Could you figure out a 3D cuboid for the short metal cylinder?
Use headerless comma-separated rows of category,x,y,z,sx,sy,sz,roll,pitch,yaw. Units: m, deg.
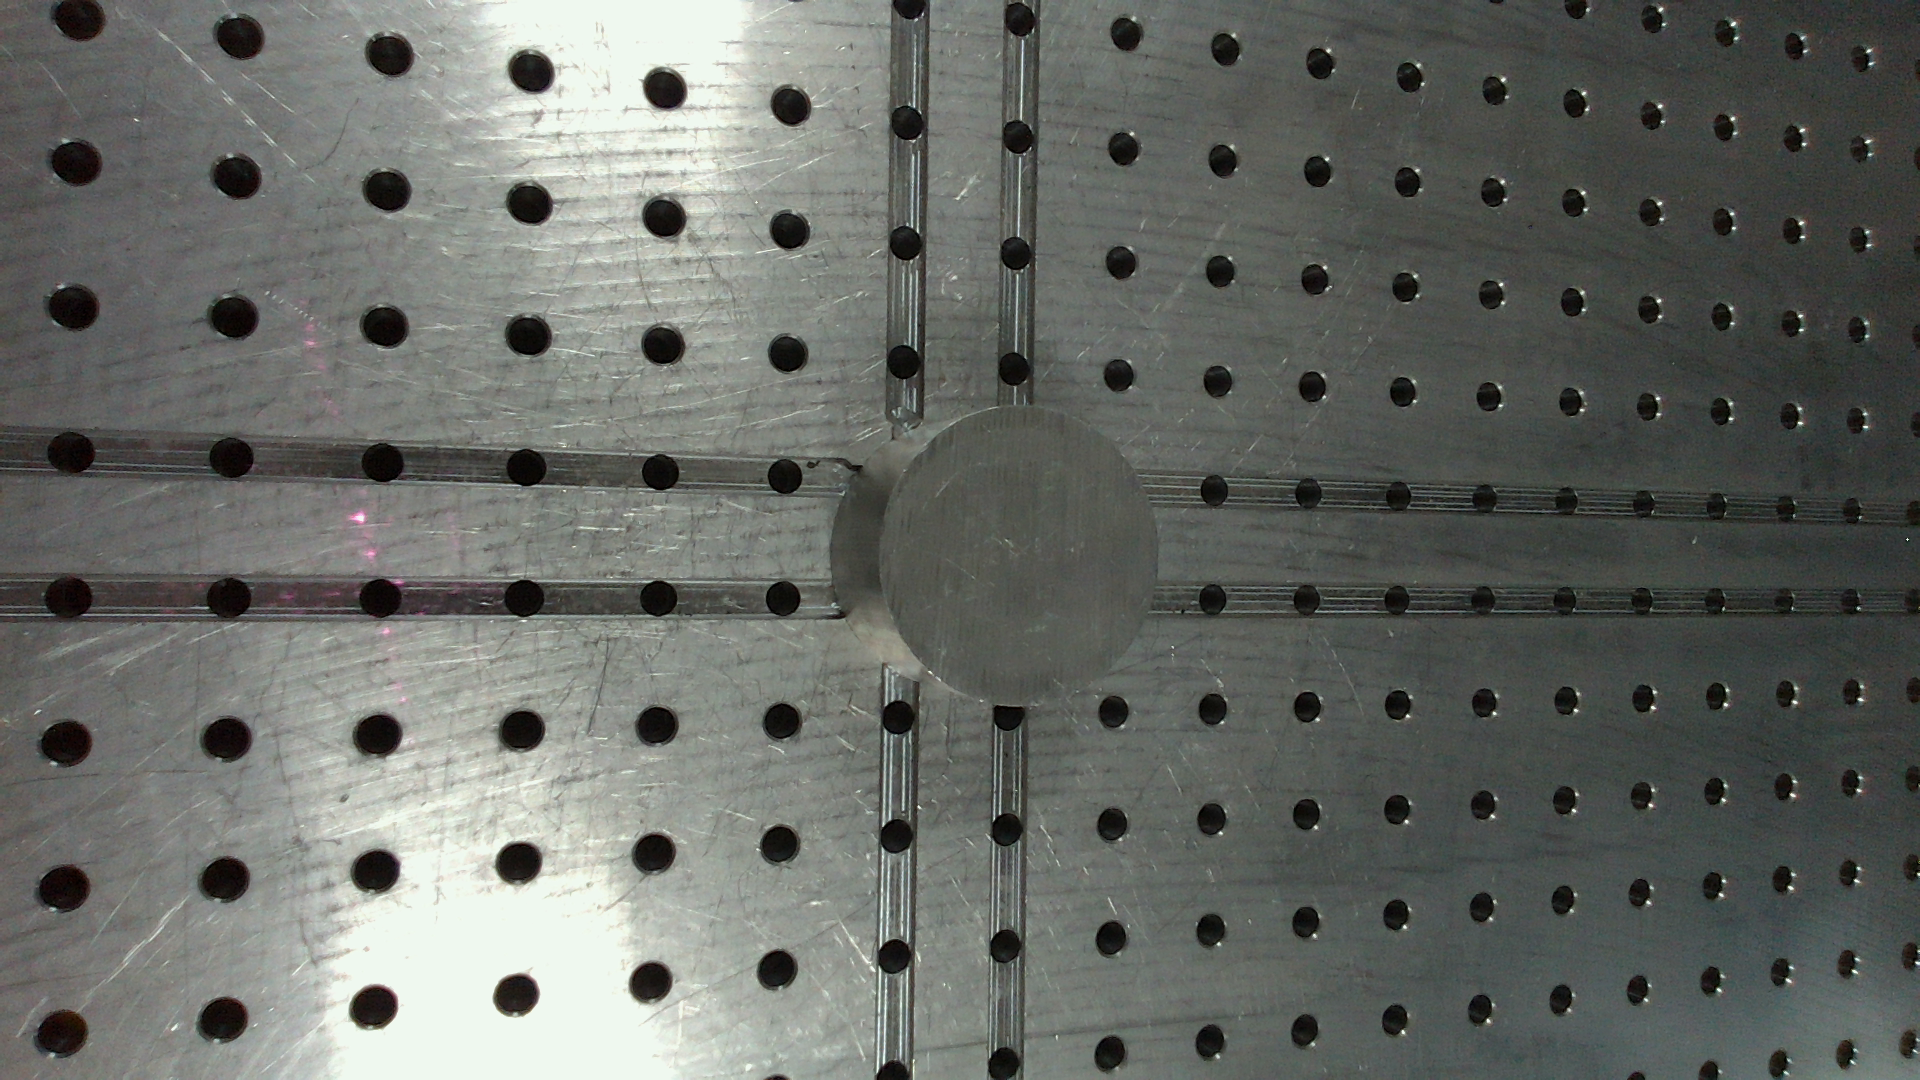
short metal cylinder,0.008,0.004,0.385,0.080,0.050,0.080,0,90,-20
